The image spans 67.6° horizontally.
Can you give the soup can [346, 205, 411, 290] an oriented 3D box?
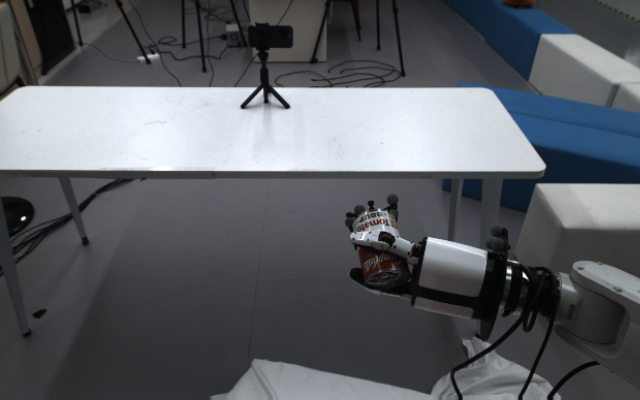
[{"bbox_3d":[0.090,0.072,0.713,0.067,0.067,0.101,-5,57,-10],"label":"soup can"}]
